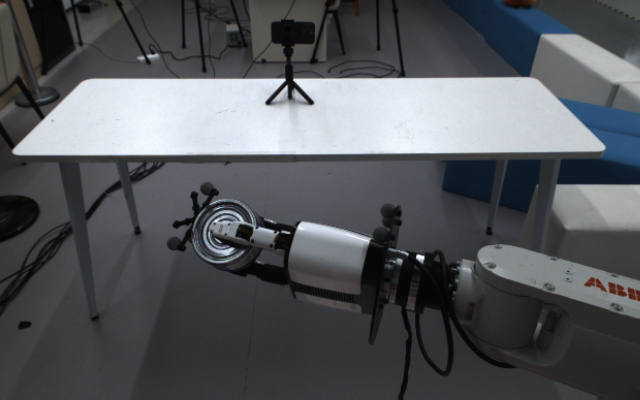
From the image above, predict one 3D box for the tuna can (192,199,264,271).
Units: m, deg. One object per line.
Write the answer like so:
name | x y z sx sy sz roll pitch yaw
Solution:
tuna can | -0.108 0.047 0.589 0.085 0.034 0.085 -3 70 9
